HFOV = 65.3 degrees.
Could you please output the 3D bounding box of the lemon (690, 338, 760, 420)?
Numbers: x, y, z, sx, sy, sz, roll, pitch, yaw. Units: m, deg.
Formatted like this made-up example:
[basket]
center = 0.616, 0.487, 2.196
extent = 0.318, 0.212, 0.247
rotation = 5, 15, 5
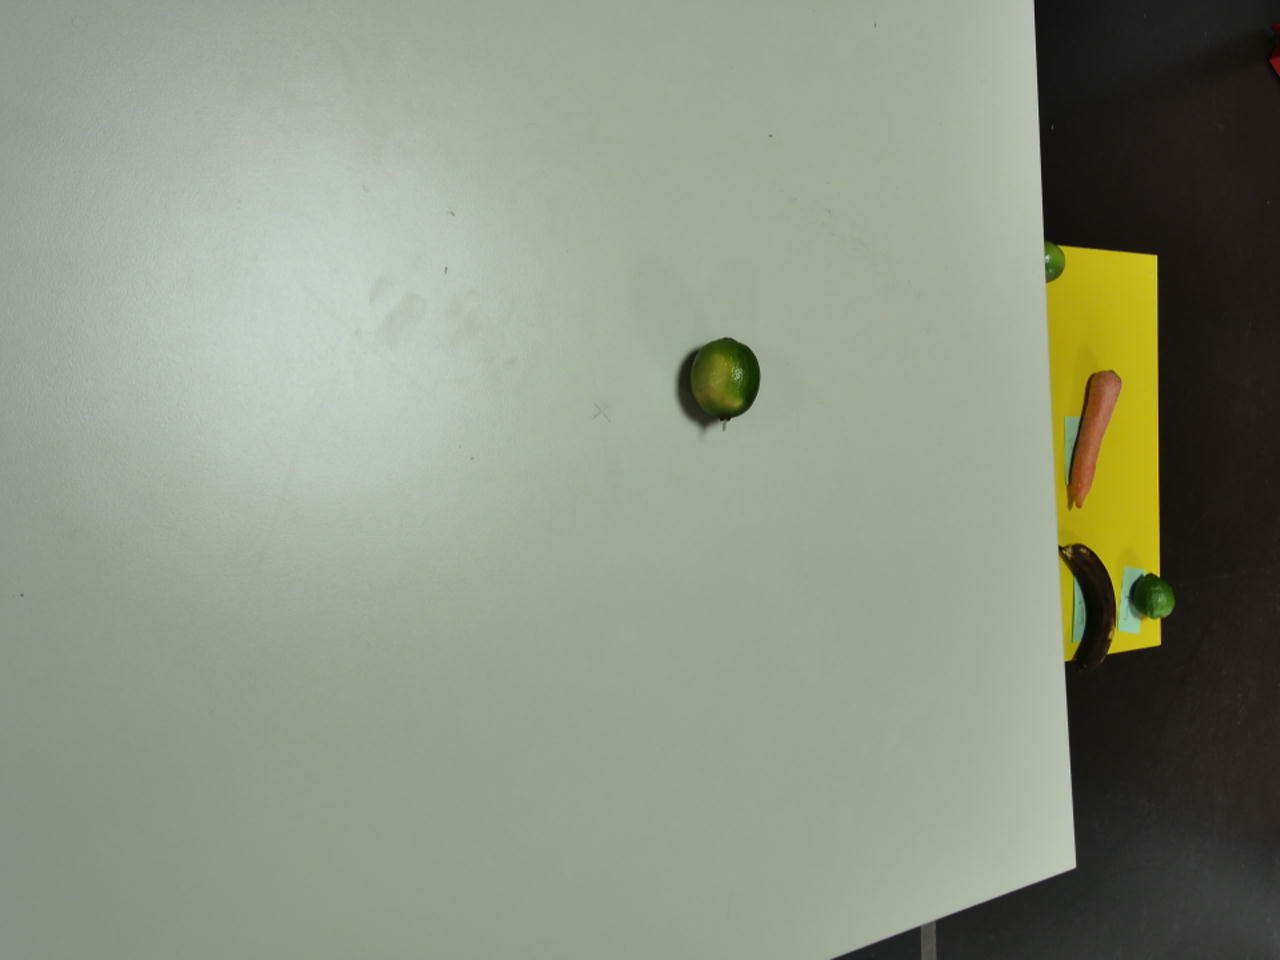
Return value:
[lemon]
center = 0.062, -0.074, 0.729
extent = 0.055, 0.050, 0.054
rotation = -48, 111, -19
